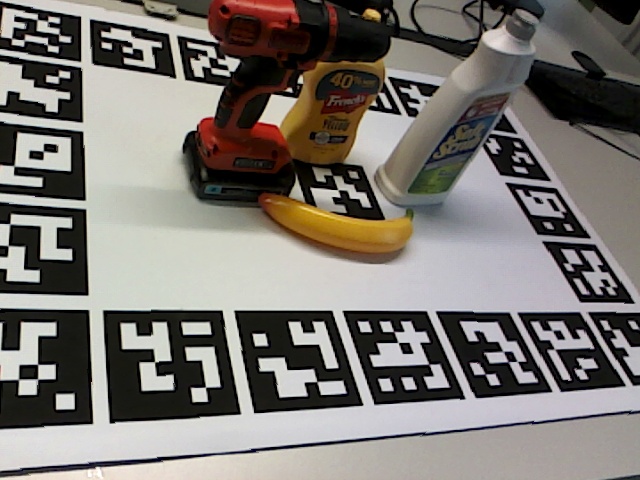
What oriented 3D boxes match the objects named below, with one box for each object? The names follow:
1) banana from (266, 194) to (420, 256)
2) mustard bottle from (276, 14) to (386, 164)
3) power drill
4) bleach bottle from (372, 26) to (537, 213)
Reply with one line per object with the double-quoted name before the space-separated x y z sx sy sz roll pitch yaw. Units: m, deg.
"banana" 0.035 -0.018 0.688 0.196 0.039 0.074 5 52 -22
"mustard bottle" 0.023 -0.175 0.723 0.095 0.191 0.059 5 48 -27
"power drill" -0.046 -0.146 0.630 0.183 0.187 0.058 3 42 -30
"bleach bottle" 0.161 -0.138 0.730 0.102 0.251 0.068 -4 53 -32
